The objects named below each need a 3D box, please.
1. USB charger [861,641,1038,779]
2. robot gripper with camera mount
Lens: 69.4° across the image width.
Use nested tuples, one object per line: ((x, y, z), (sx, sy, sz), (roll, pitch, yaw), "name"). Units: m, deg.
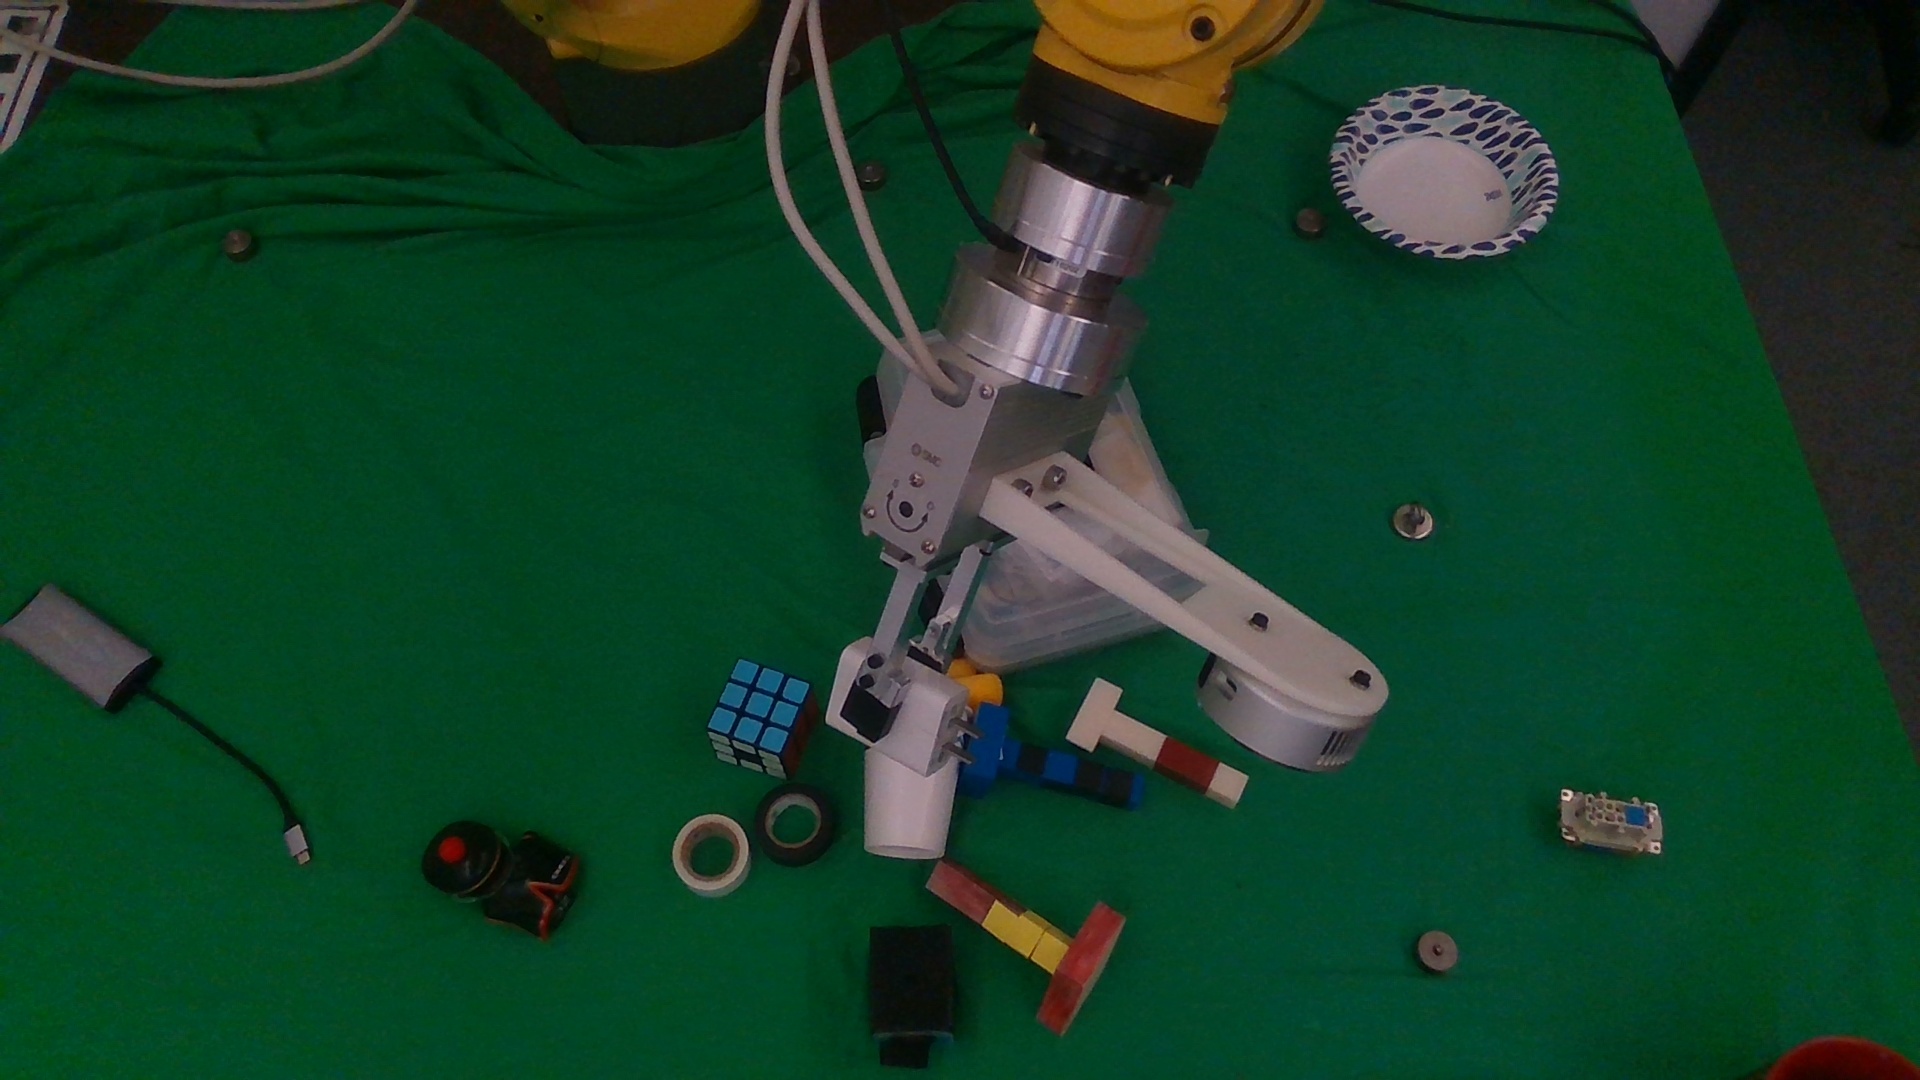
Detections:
((-0.004, 0.073, 0.575), (0.076, 0.044, 0.029), (17, 29, 21), "USB charger")
((0.062, 0.045, 0.524), (0.194, 0.159, 0.118), (31, 28, 23), "robot gripper with camera mount")
